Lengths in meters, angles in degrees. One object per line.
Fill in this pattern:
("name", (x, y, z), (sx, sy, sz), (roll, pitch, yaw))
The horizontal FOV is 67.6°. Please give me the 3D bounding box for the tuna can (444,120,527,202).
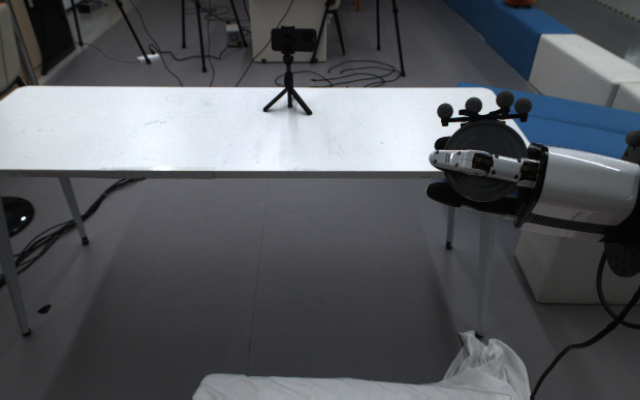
("tuna can", (0.177, -0.043, 0.521), (0.085, 0.085, 0.034), (16, 0, 19))
